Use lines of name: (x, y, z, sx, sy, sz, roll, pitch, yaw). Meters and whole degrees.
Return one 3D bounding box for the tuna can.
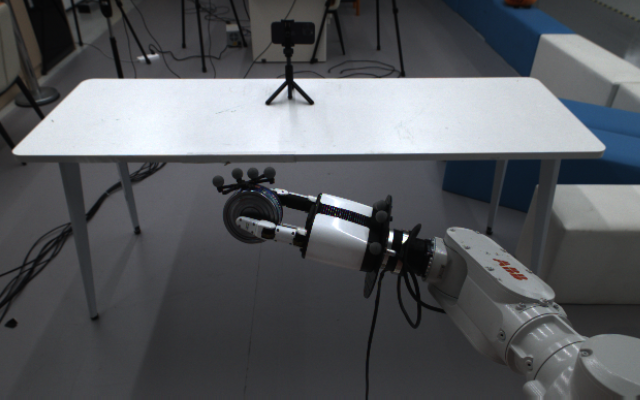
tuna can: (-0.097, 0.028, 0.720, 0.085, 0.085, 0.034, 6, 18, 5)
